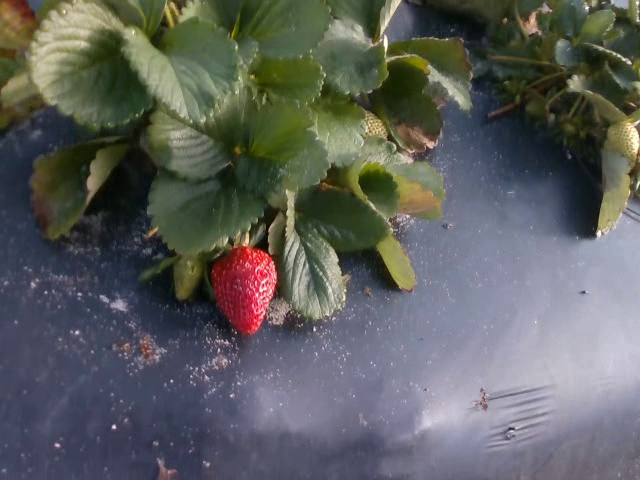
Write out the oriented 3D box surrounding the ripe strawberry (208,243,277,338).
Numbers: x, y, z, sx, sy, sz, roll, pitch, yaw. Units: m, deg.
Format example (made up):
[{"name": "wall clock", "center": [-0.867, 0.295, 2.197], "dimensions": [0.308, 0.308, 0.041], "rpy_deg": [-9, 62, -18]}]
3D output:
[{"name": "ripe strawberry", "center": [-0.026, 0.020, 0.219], "dimensions": [0.029, 0.036, 0.021], "rpy_deg": [-6, -22, -14]}]
